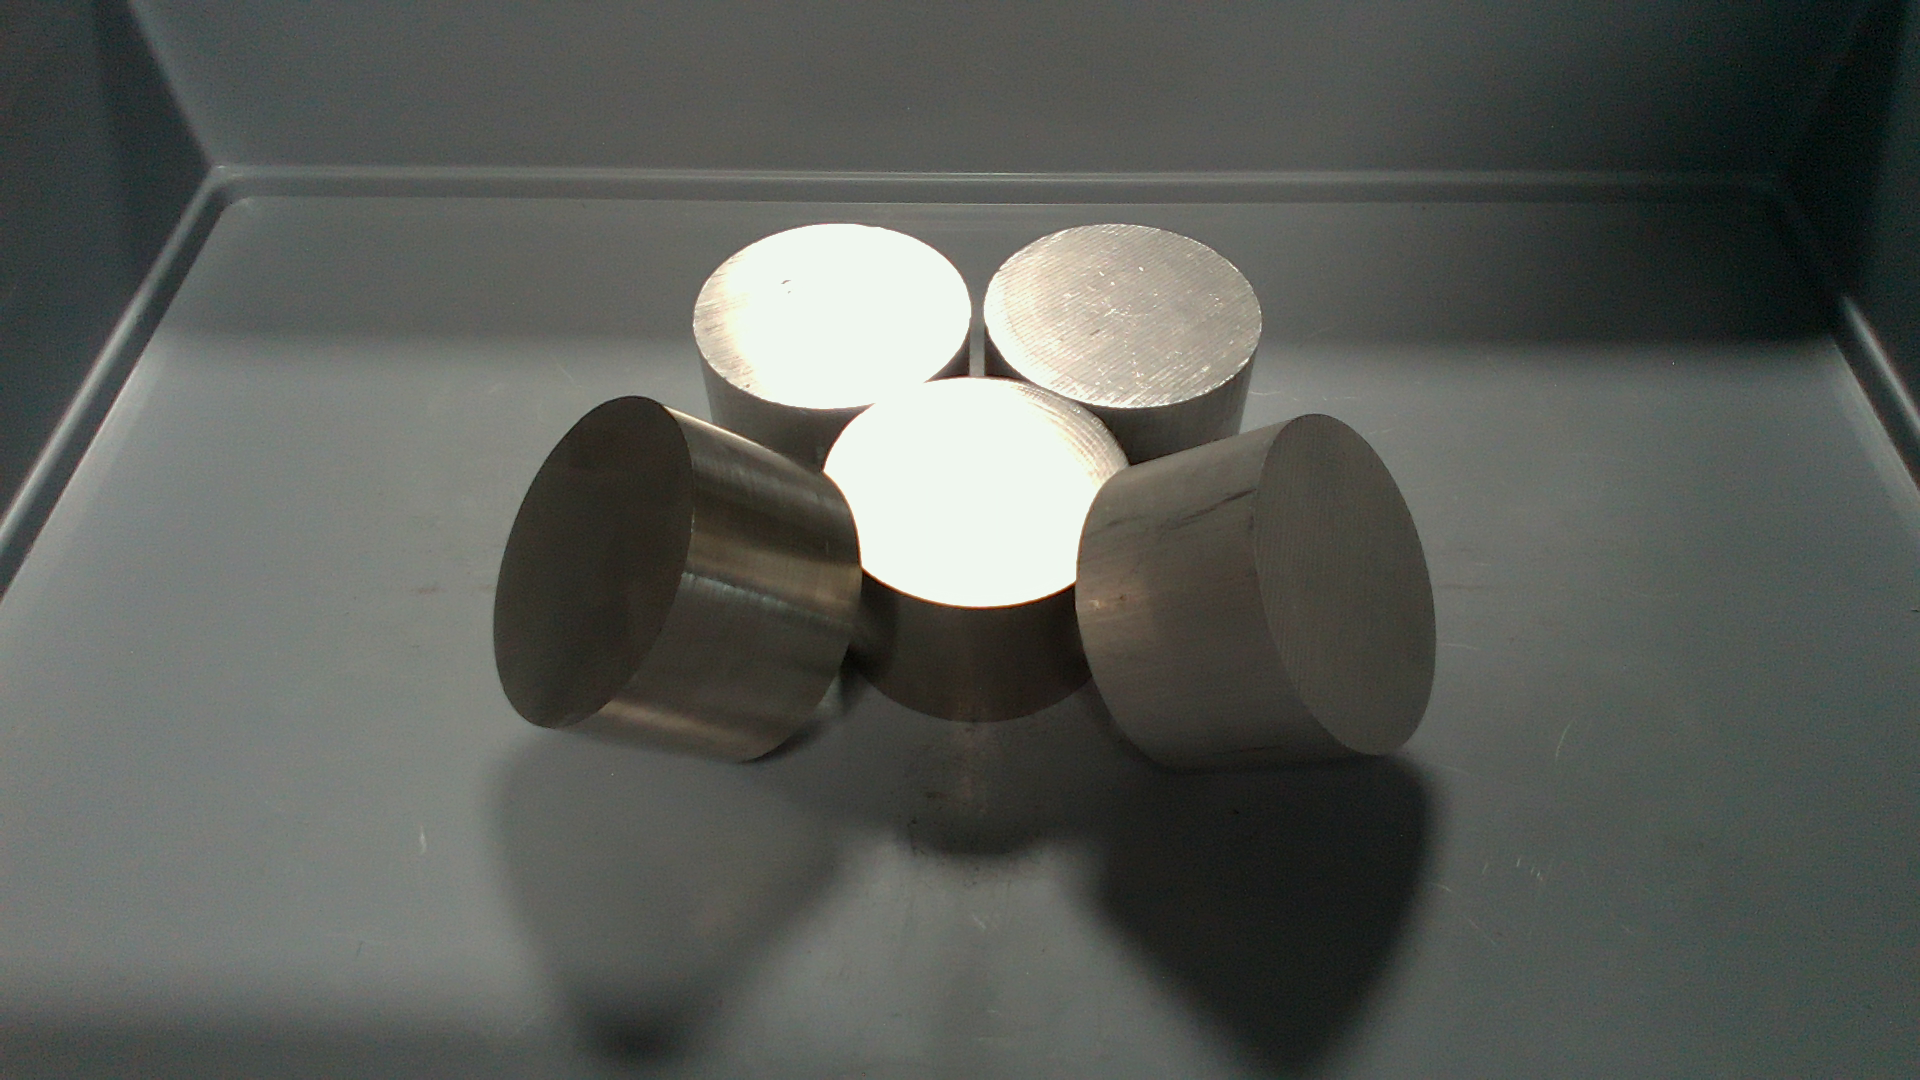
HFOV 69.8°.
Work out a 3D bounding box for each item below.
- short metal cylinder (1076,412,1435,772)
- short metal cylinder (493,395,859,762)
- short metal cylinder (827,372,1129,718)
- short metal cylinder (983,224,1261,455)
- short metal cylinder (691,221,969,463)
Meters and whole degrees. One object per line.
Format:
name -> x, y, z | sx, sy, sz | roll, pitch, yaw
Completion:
short metal cylinder -> 0.073, 0.014, 0.334 | 0.050, 0.080, 0.080 | -16, 36, 42
short metal cylinder -> -0.071, 0.011, 0.338 | 0.050, 0.080, 0.080 | 21, 33, -43
short metal cylinder -> 0.005, 0.001, 0.371 | 0.080, 0.050, 0.080 | 0, 50, 0
short metal cylinder -> 0.047, -0.050, 0.417 | 0.080, 0.050, 0.080 | 0, 50, 0
short metal cylinder -> -0.037, -0.051, 0.416 | 0.080, 0.050, 0.080 | 0, 50, 0
